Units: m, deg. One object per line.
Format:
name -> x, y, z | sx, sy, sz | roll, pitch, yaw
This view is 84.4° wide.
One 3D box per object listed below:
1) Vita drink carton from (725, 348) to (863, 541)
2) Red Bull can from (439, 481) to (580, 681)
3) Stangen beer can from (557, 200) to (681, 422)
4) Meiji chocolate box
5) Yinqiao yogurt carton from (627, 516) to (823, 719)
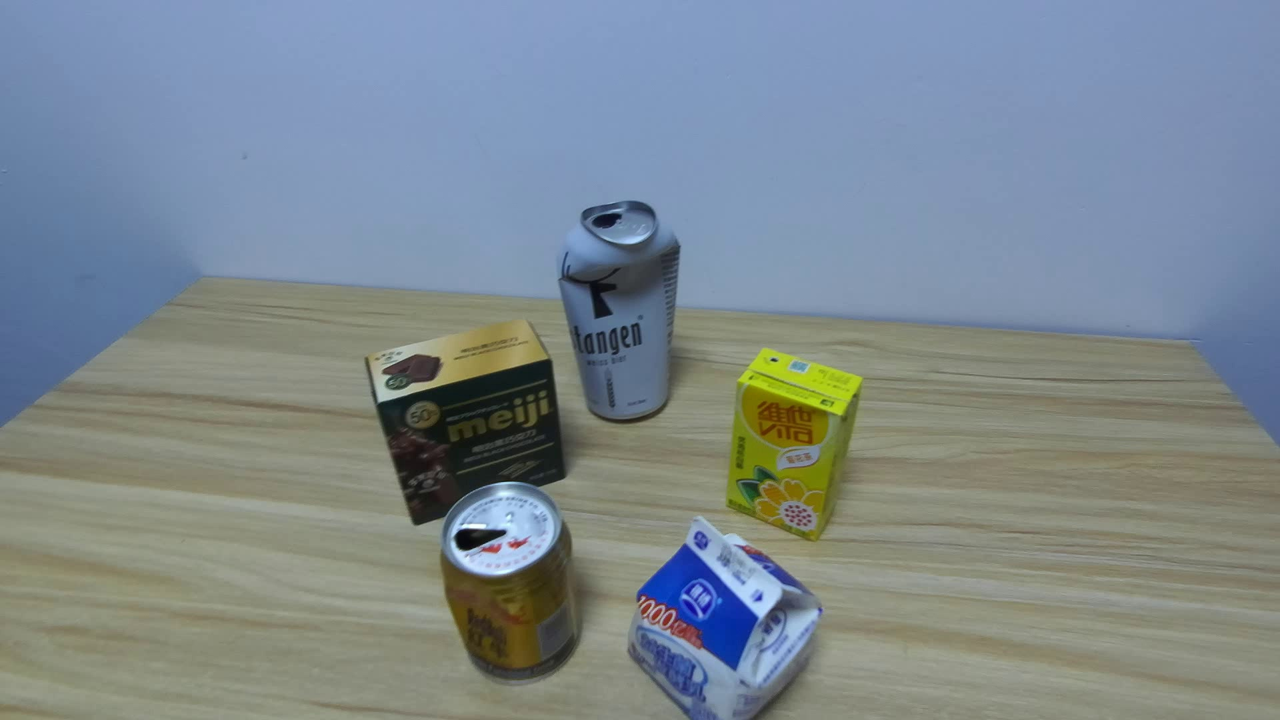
Vita drink carton -> 0.095, 0.054, 0.443 | 0.066, 0.109, 0.044 | 19, 41, 25
Red Bull can -> -0.067, 0.118, 0.374 | 0.069, 0.092, 0.069 | 0, 35, 0
Stangen beer can -> -0.013, -0.031, 0.519 | 0.065, 0.162, 0.077 | 16, 40, 24
Meiji chocolate box -> -0.112, 0.042, 0.471 | 0.110, 0.109, 0.056 | -16, 38, -19
Yinqiao yogurt carton -> 0.045, 0.127, 0.360 | 0.077, 0.093, 0.083 | -27, 42, -31
